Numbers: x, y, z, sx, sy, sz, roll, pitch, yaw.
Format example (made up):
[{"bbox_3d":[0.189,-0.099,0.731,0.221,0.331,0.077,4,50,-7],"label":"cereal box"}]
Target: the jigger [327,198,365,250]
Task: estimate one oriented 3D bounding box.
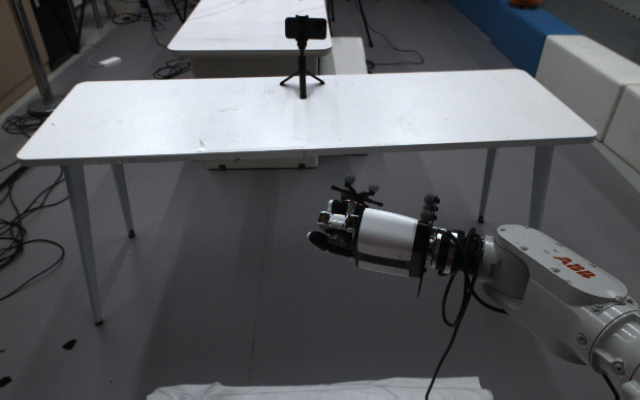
[{"bbox_3d":[0.043,0.036,0.769,0.043,0.043,0.071,15,71,18],"label":"jigger"}]
